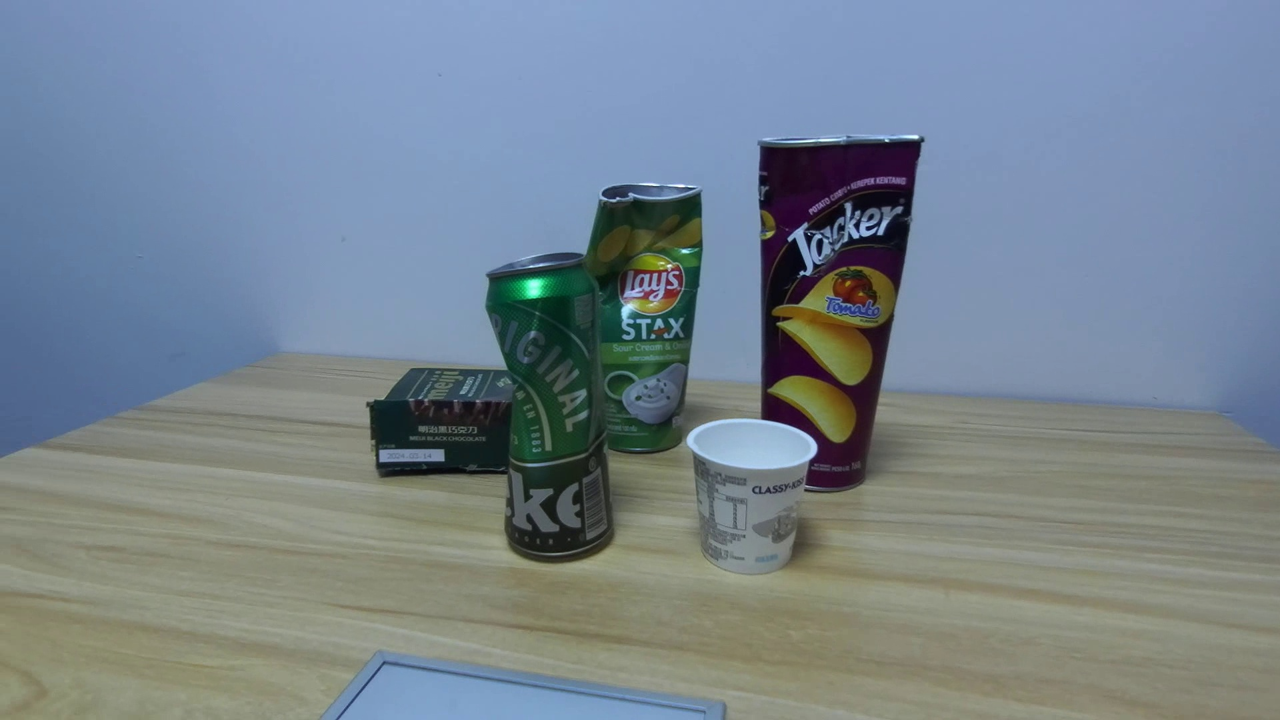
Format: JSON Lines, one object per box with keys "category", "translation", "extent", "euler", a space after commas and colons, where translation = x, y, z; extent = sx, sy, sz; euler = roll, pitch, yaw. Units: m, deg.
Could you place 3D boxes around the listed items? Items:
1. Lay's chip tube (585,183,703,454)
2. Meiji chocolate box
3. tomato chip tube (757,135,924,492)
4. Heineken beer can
{"category": "Lay's chip tube", "translation": [0.001, -0.032, 0.547], "extent": [0.069, 0.201, 0.077], "euler": [12, 22, 35]}
{"category": "Meiji chocolate box", "translation": [-0.139, 0.044, 0.557], "extent": [0.122, 0.058, 0.115], "euler": [-1, 14, -3]}
{"category": "tomato chip tube", "translation": [0.125, -0.031, 0.487], "extent": [0.078, 0.236, 0.090], "euler": [-3, 18, -7]}
{"category": "Heineken beer can", "translation": [-0.052, 0.028, 0.408], "extent": [0.069, 0.168, 0.069], "euler": [-14, 17, -37]}
